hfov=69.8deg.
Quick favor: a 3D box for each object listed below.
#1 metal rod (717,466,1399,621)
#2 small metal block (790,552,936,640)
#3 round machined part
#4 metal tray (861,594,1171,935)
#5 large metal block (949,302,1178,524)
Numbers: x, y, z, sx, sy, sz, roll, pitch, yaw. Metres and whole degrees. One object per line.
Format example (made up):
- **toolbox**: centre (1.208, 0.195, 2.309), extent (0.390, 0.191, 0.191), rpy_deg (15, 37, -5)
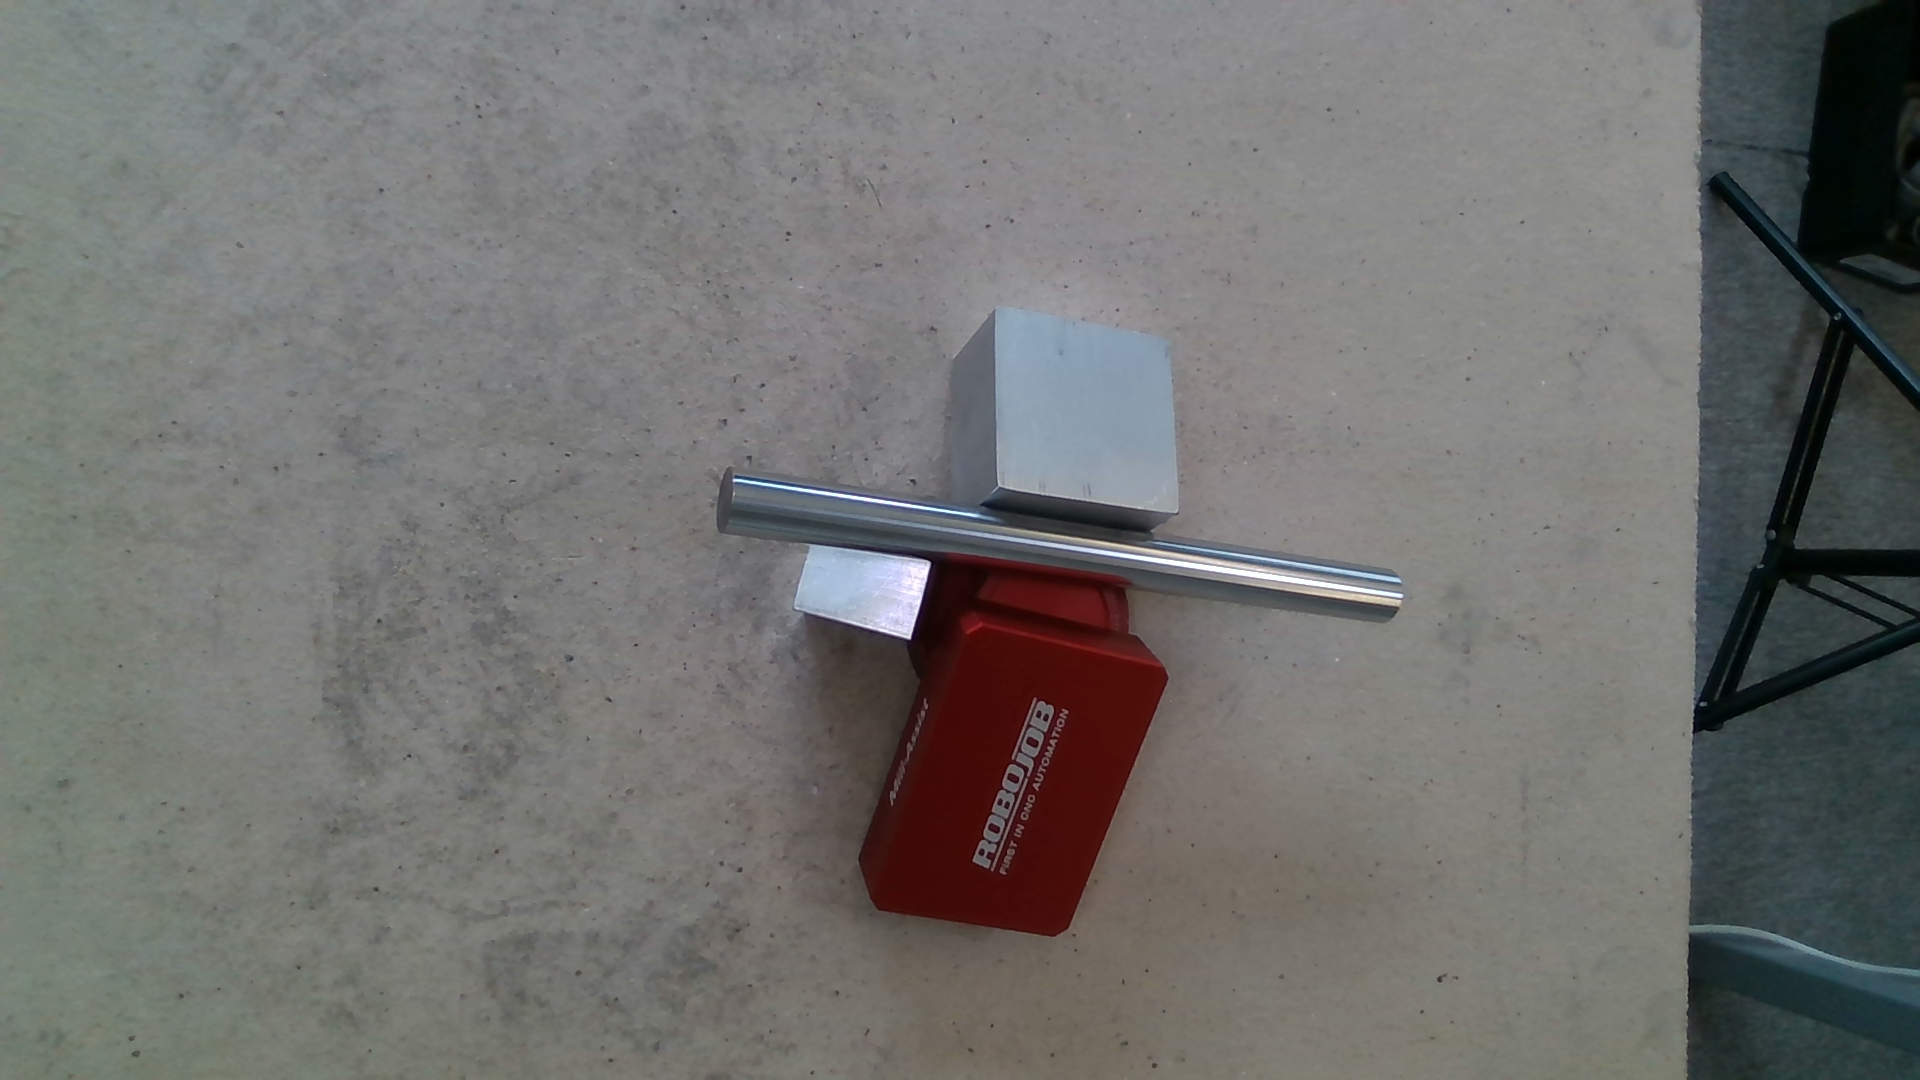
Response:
- **metal rod**: centre (0.051, 0.005, 0.561), extent (0.300, 0.025, 0.025), rpy_deg (8, 87, -22)
- **small metal block**: centre (-0.037, 0.011, 0.563), extent (0.050, 0.025, 0.050), rpy_deg (14, 84, 6)
- **round machined part**: centre (0.029, 0.035, 0.588), extent (0.098, 0.042, 0.098), rpy_deg (0, 90, -20)
- **metal tray**: centre (0.021, 0.095, 0.569), extent (0.090, 0.030, 0.130), rpy_deg (14, 106, -19)
- **large metal block**: centre (0.042, -0.045, 0.577), extent (0.080, 0.050, 0.080), rpy_deg (7, 69, -20)
